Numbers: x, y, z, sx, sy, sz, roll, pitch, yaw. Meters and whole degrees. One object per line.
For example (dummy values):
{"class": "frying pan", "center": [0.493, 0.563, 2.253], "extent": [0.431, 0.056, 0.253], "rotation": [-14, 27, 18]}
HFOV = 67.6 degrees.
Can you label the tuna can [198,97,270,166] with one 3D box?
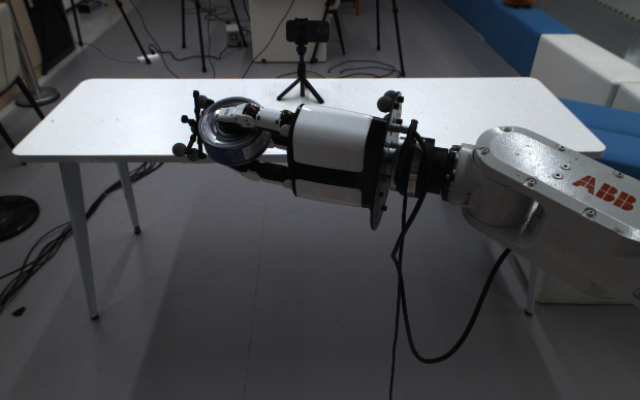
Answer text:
{"class": "tuna can", "center": [-0.104, -0.087, 0.599], "extent": [0.085, 0.034, 0.085], "rotation": [-2, 58, 3]}
